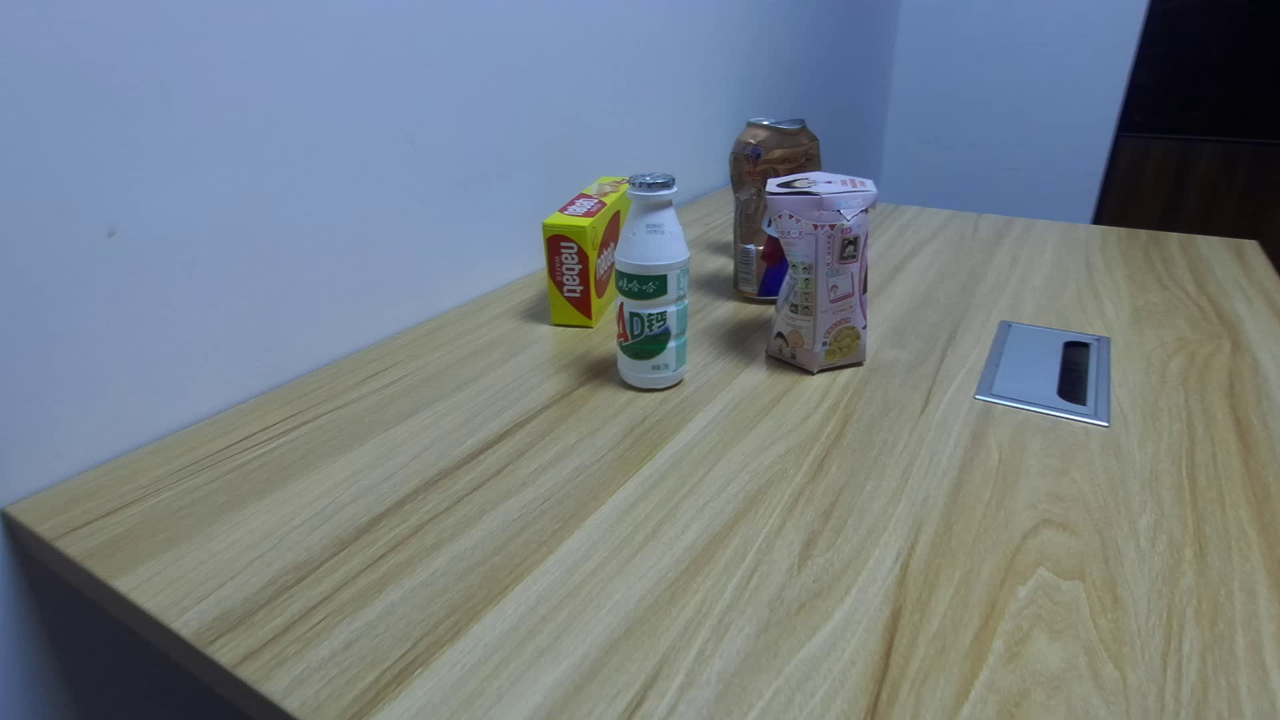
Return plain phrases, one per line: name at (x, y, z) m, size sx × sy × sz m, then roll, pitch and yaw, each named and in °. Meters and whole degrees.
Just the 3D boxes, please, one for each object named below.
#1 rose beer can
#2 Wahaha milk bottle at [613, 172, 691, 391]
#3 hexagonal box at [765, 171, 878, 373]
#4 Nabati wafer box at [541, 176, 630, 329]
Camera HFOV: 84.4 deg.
rose beer can at (0.124, -0.136, 0.650) m, size 0.068 × 0.162 × 0.074 m, roll 12°, pitch 28°, yaw 27°
Wahaha milk bottle at (0.008, -0.054, 0.494) m, size 0.053 × 0.147 × 0.053 m, roll -1°, pitch 25°, yaw 1°
hexagonal box at (0.133, -0.067, 0.537) m, size 0.091 × 0.134 × 0.089 m, roll -20°, pitch 28°, yaw -33°
Nabati wafer box at (-0.038, -0.111, 0.681) m, size 0.042 × 0.093 × 0.203 m, roll 4°, pitch 26°, yaw 12°
